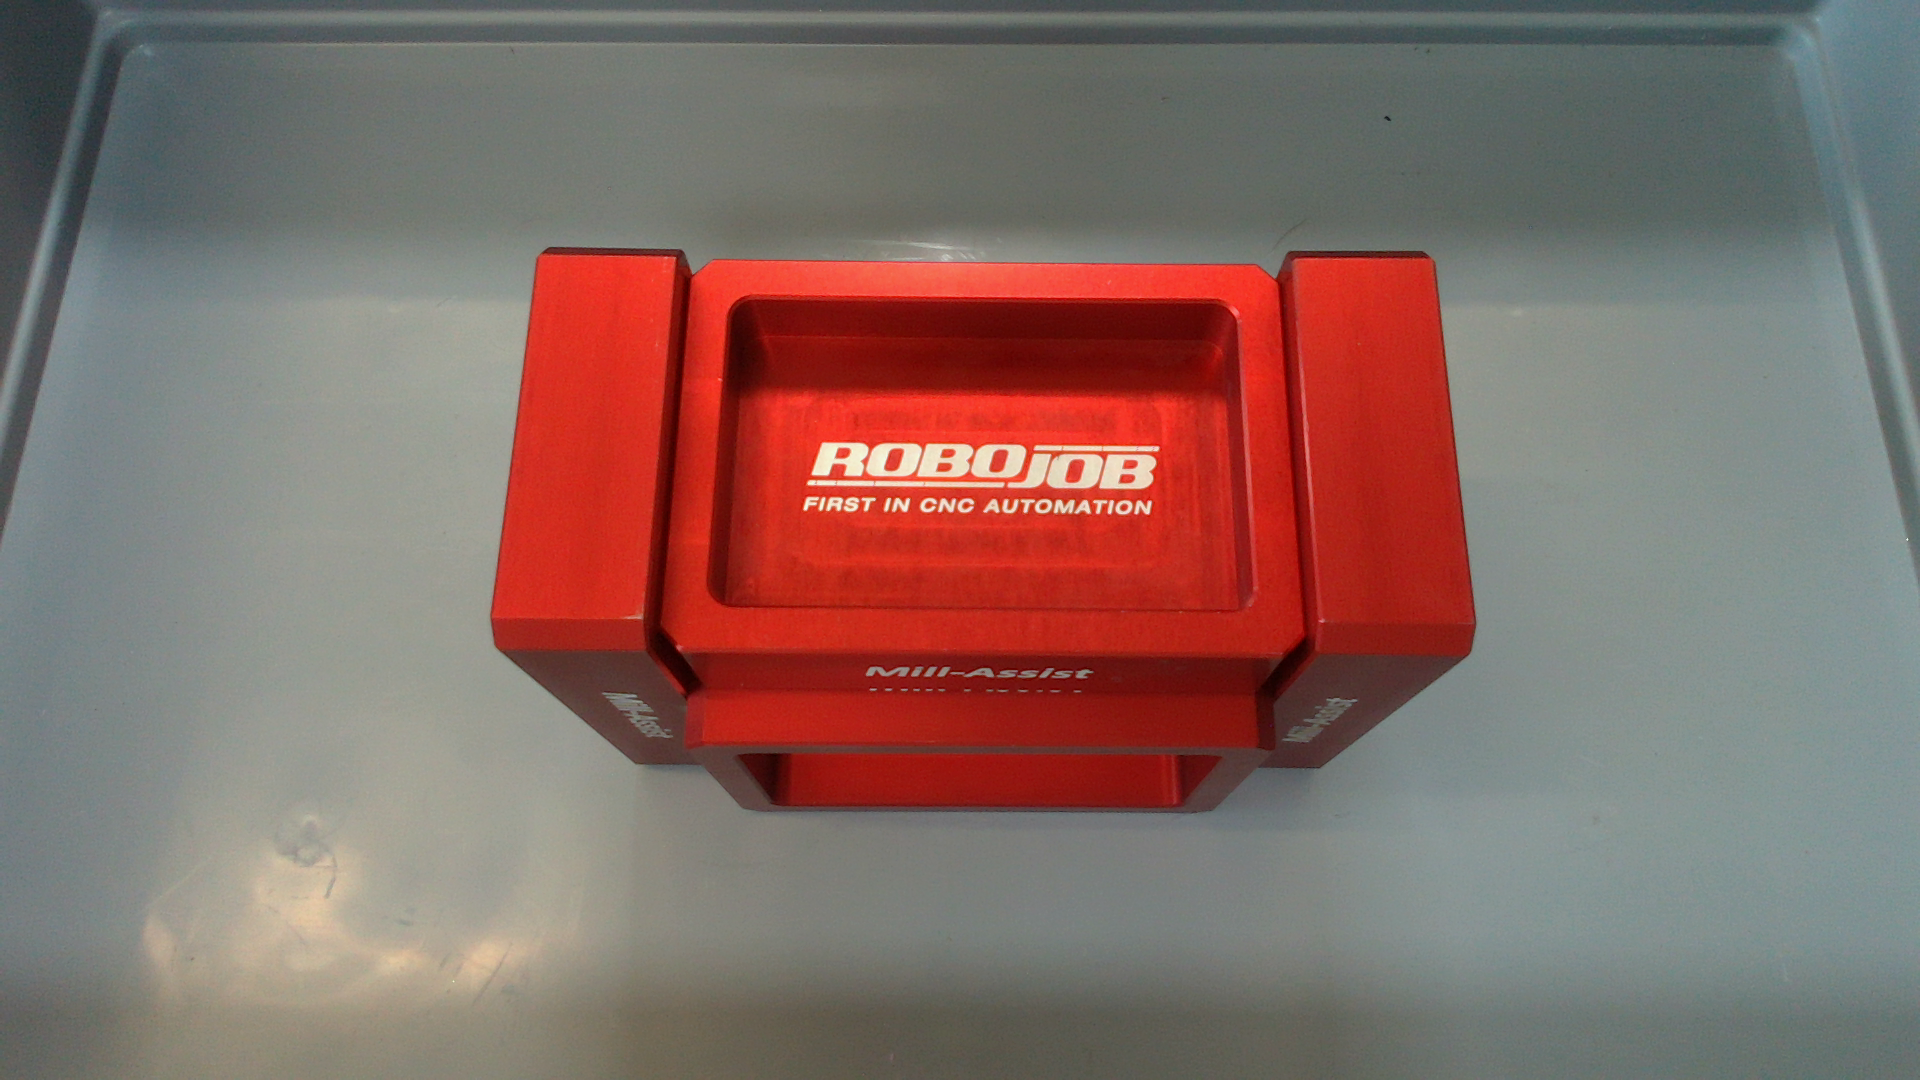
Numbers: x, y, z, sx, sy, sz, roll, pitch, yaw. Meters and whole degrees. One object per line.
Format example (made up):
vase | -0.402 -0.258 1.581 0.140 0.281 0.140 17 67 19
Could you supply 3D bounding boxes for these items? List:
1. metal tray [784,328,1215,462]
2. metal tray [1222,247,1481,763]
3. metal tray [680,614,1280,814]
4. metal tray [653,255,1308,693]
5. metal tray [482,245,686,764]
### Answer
metal tray | 0.005 -0.039 0.371 0.130 0.090 0.030 0 71 0
metal tray | 0.086 0.000 0.337 0.030 0.130 0.090 1 70 1
metal tray | 0.005 0.046 0.340 0.130 0.090 0.030 0 69 0
metal tray | 0.005 -0.015 0.300 0.130 0.030 0.090 1 69 0
metal tray | -0.076 -0.001 0.337 0.030 0.130 0.090 0 70 0
